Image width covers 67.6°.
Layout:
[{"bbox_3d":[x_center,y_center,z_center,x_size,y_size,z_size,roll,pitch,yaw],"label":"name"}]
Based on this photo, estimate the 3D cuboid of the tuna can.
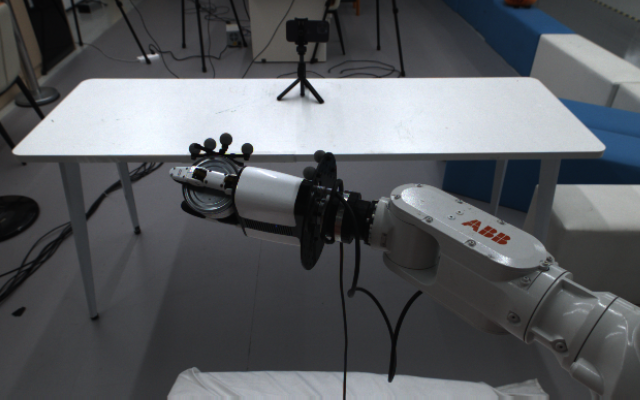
[{"bbox_3d":[-0.147,-0.016,0.683,0.085,0.034,0.085,-3,73,9],"label":"tuna can"}]
